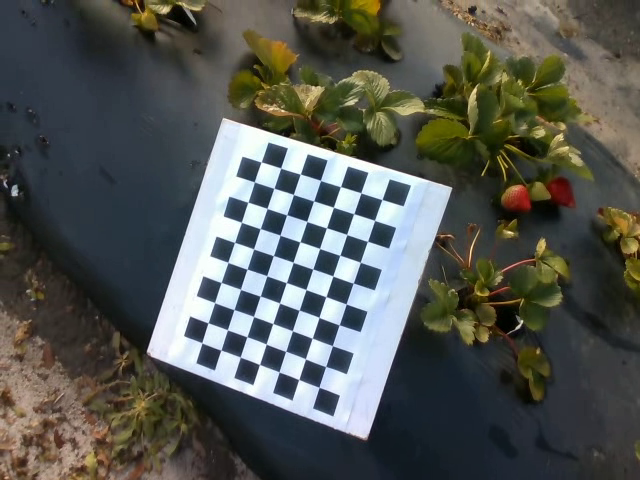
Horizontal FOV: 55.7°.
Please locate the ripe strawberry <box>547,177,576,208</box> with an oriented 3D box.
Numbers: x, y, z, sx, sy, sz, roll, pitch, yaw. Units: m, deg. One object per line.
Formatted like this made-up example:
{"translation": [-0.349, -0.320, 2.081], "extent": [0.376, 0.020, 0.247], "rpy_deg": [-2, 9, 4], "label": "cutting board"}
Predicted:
{"translation": [0.384, -0.072, 0.946], "extent": [0.048, 0.065, 0.050], "rpy_deg": [-31, -12, 9], "label": "ripe strawberry"}
